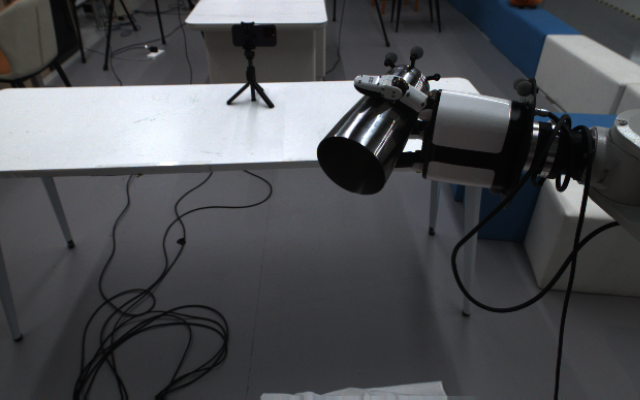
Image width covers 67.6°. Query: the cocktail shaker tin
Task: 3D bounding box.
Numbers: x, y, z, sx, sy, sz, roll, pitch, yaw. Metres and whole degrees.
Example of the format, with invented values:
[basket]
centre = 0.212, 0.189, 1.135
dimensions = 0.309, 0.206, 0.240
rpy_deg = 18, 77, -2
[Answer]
[cocktail shaker tin]
centre = 0.080, -0.102, 0.613
dimensions = 0.093, 0.093, 0.170
rpy_deg = 19, 55, 22
